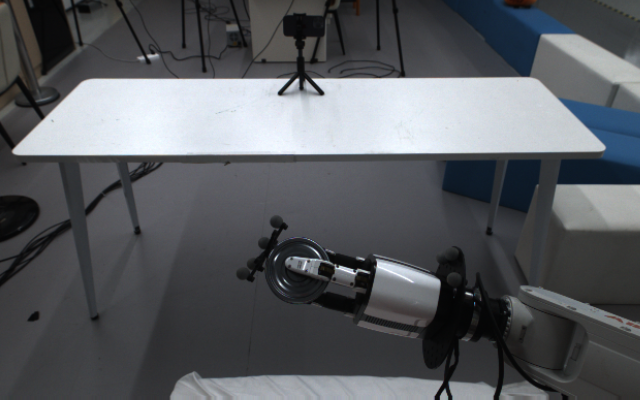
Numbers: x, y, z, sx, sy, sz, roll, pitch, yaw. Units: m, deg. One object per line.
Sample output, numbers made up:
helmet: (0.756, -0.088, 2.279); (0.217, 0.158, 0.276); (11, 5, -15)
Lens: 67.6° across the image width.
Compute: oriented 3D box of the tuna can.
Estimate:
tuna can: (-0.025, 0.095, 0.623); (0.085, 0.034, 0.085); (1, 76, -5)
